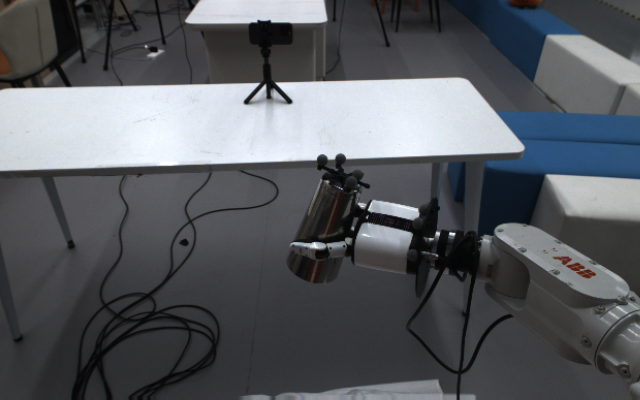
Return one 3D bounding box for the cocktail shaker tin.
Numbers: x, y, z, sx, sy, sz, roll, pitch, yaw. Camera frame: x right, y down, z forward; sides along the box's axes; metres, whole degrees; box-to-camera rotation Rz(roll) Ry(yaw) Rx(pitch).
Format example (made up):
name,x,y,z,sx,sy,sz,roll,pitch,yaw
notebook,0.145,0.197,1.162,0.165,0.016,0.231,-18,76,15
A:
name,x,y,z,sx,sy,sz,roll,pitch,yaw
cocktail shaker tin,0.011,0.038,0.789,0.093,0.170,0.093,15,27,-8
